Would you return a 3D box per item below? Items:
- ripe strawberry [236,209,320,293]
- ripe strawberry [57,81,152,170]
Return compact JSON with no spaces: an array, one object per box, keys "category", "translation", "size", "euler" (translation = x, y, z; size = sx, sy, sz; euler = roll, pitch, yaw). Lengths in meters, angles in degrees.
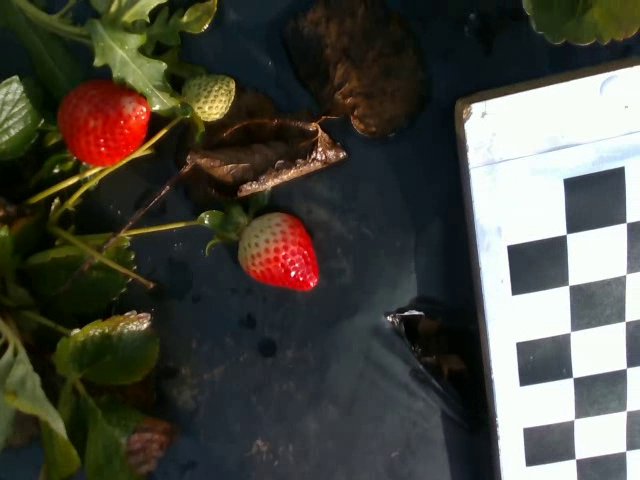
[{"category":"ripe strawberry","translation":[-0.017,0.008,0.276],"size":[0.043,0.035,0.030],"euler":[39,16,-12]},{"category":"ripe strawberry","translation":[-0.084,-0.047,0.249],"size":[0.048,0.040,0.031],"euler":[-5,31,47]}]
